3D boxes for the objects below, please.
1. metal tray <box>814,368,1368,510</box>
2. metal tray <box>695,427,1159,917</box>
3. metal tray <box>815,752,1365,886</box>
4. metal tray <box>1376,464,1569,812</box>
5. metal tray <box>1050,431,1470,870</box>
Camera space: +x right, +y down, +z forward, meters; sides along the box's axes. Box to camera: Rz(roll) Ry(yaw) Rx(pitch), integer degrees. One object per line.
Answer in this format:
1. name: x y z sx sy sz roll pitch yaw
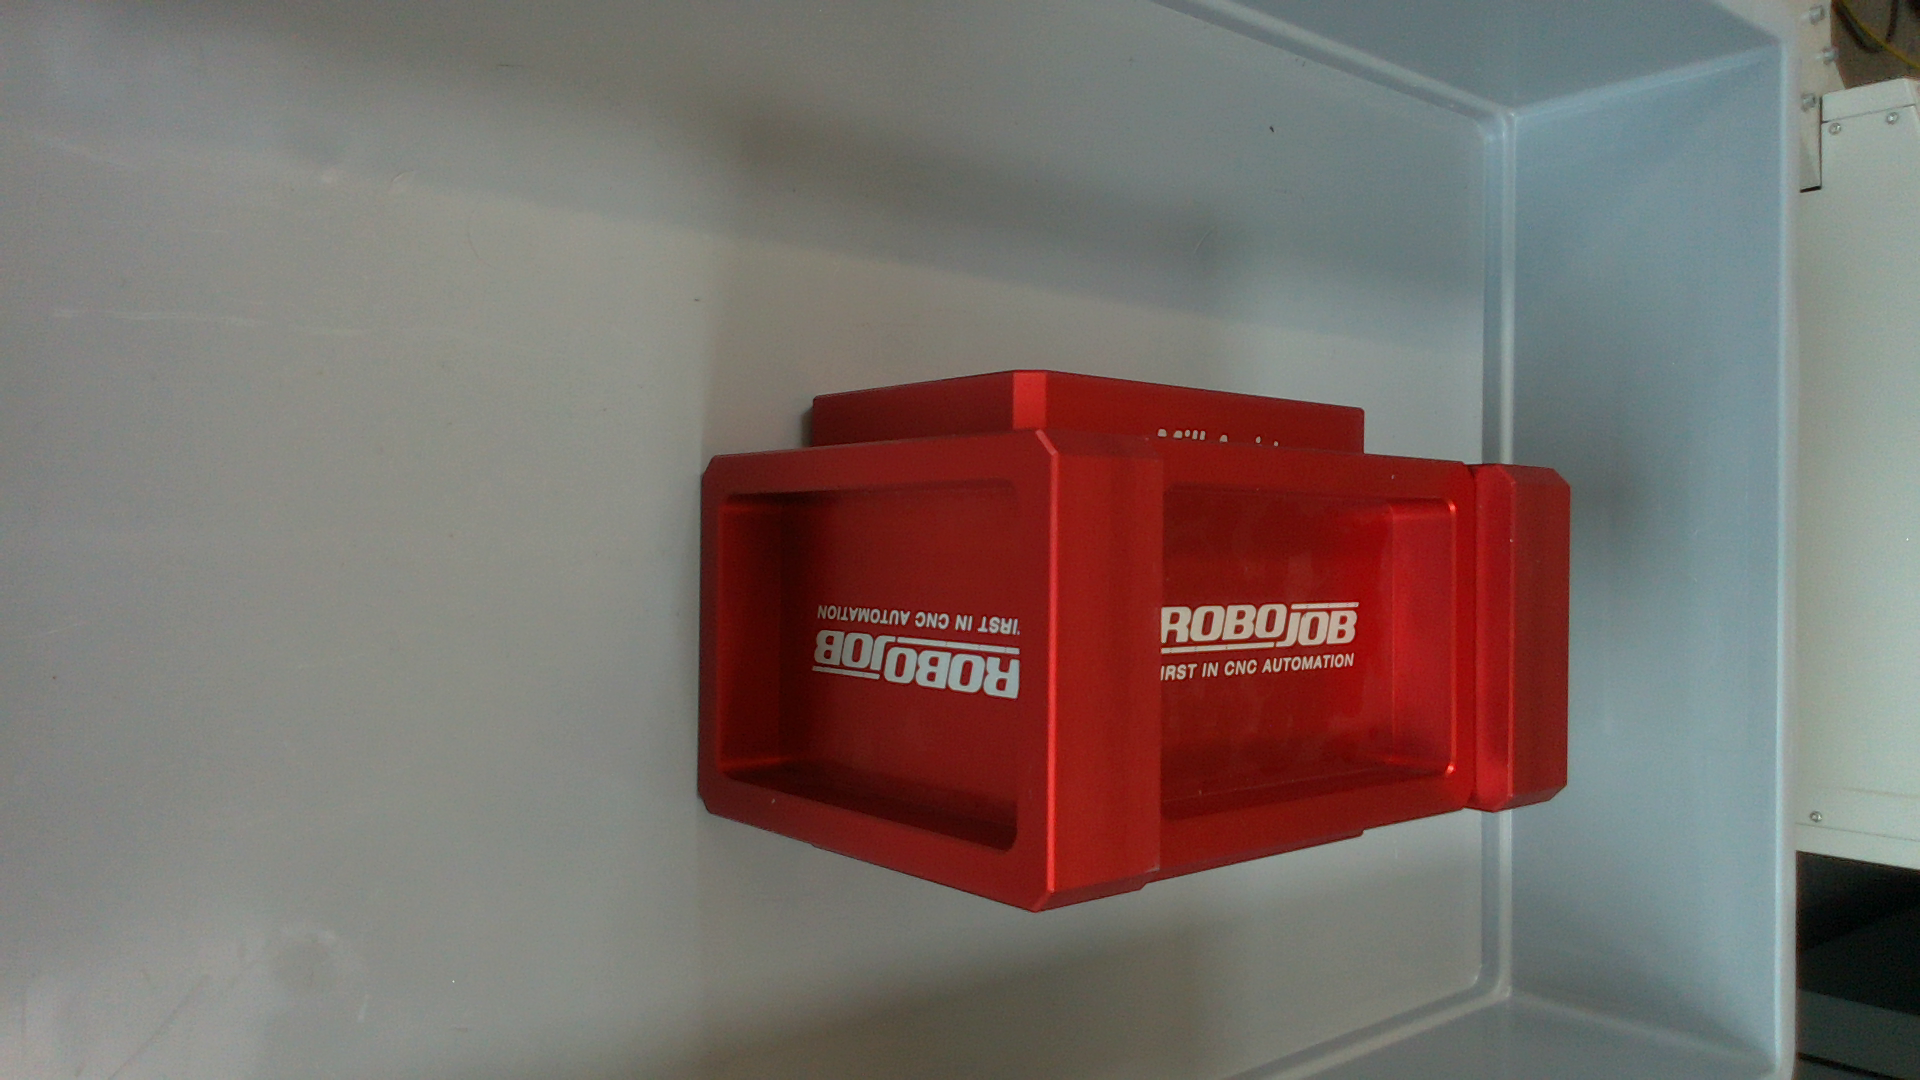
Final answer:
1. metal tray: 0.037 -0.023 0.374 0.131 0.090 0.030 0 91 -39
2. metal tray: -0.014 0.024 0.307 0.030 0.129 0.090 1 90 -40
3. metal tray: 0.036 0.067 0.373 0.131 0.090 0.030 0 89 -40
4. metal tray: 0.111 0.025 0.411 0.030 0.129 0.090 1 90 -40
5. metal tray: 0.074 0.024 0.329 0.131 0.030 0.090 1 89 -40
